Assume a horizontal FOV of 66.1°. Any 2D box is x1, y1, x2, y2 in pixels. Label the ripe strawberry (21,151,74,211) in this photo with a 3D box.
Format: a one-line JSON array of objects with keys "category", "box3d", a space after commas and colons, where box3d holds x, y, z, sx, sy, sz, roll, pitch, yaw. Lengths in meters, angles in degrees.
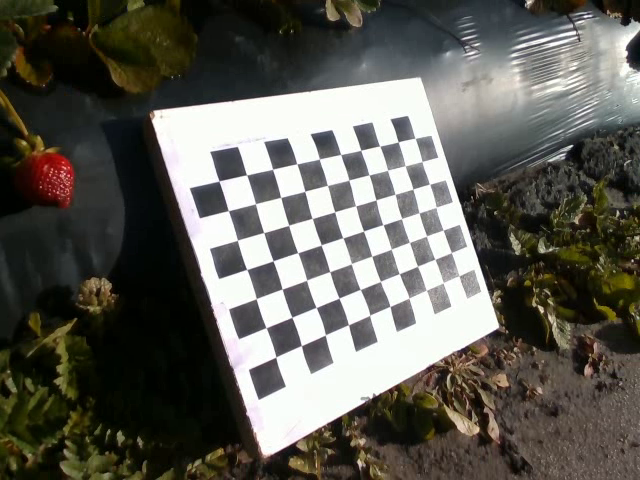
[{"category": "ripe strawberry", "box3d": [-0.171, -0.034, 0.300, 0.040, 0.044, 0.037, -40, -2, -28]}]
